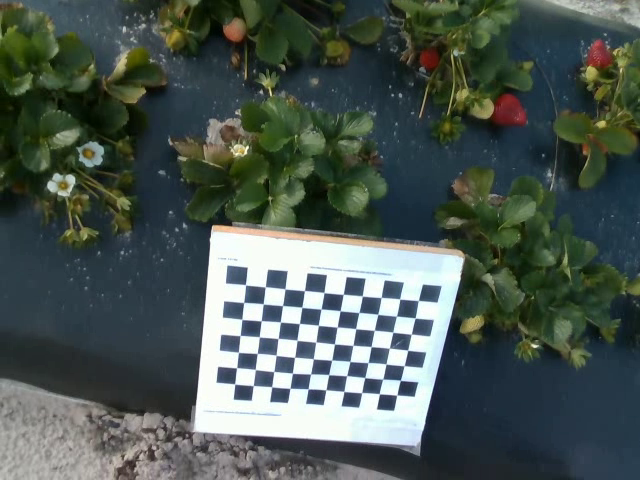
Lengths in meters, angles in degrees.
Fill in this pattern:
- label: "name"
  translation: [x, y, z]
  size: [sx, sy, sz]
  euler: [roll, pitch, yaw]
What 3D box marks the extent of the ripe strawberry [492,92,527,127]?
- label: "ripe strawberry"
  translation: [0.288, -0.191, 0.898]
  size: [0.048, 0.051, 0.055]
  euler: [25, 23, -51]
